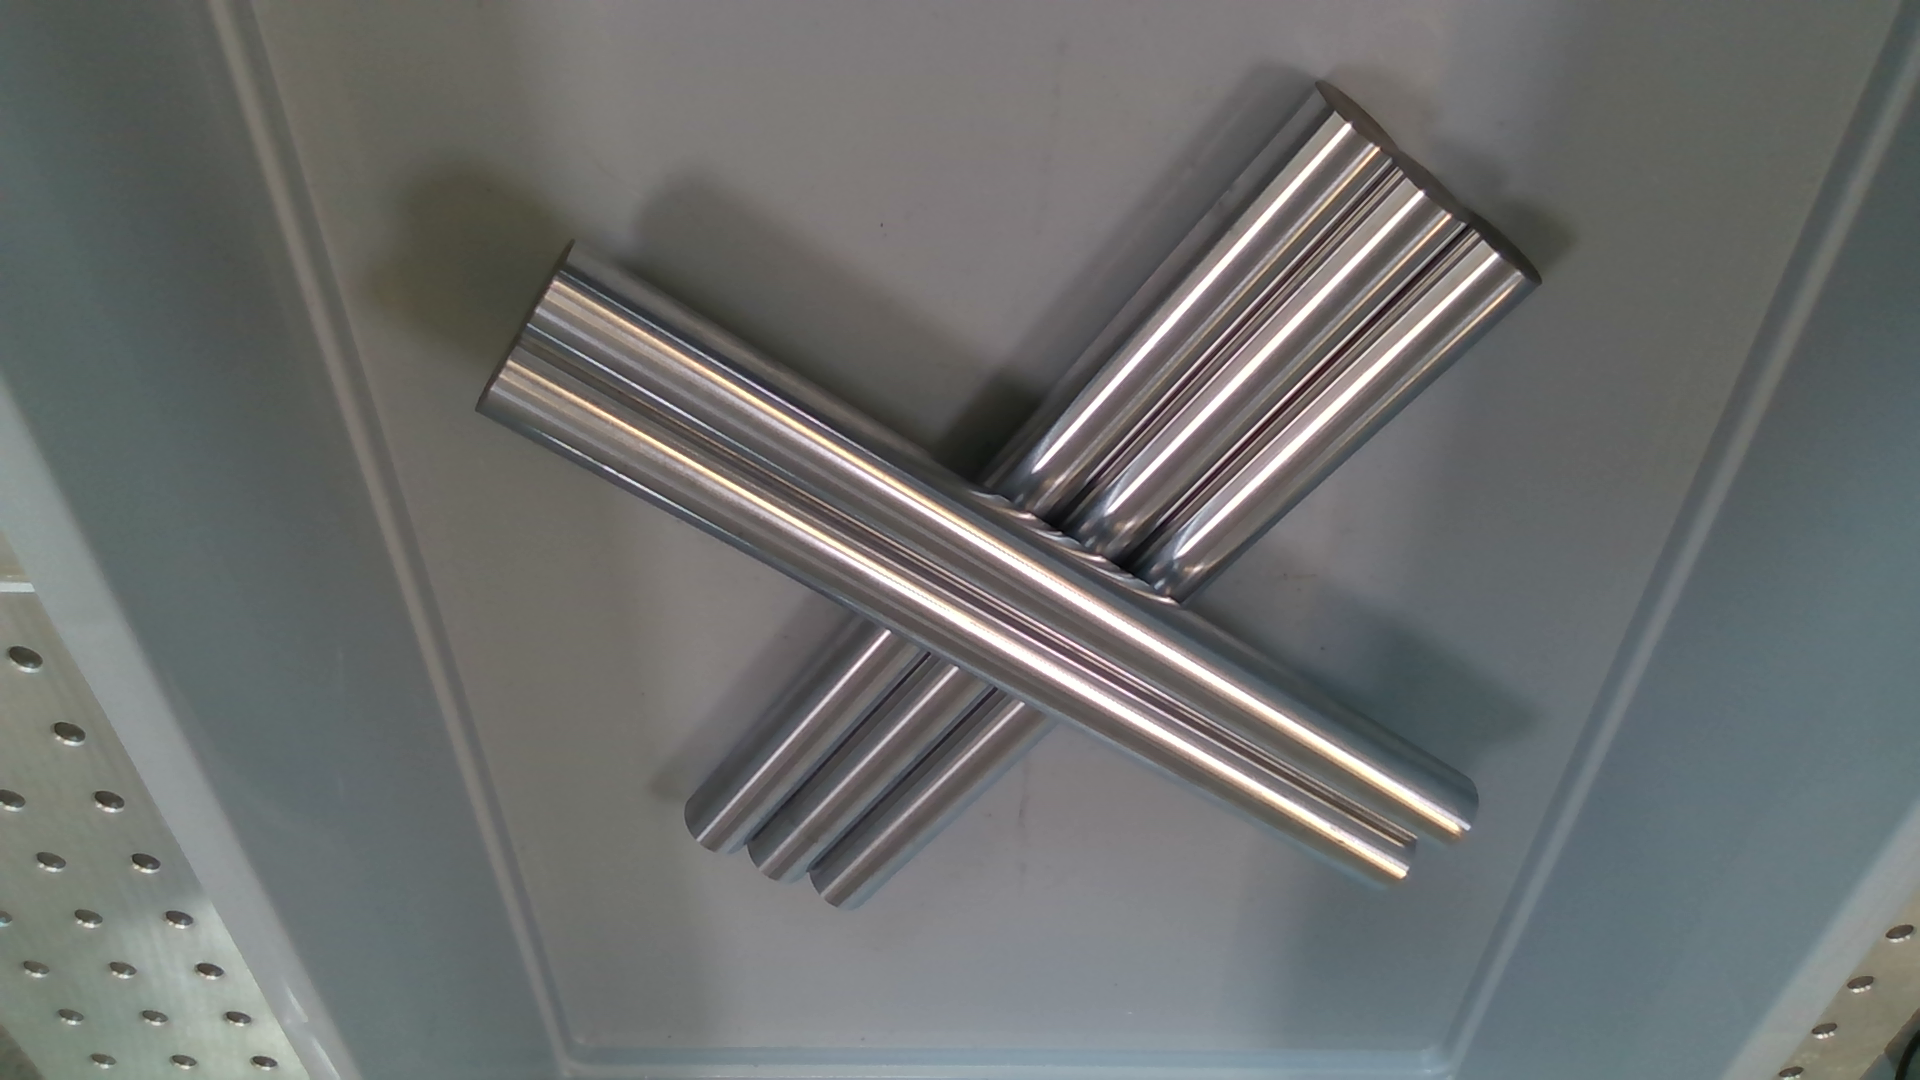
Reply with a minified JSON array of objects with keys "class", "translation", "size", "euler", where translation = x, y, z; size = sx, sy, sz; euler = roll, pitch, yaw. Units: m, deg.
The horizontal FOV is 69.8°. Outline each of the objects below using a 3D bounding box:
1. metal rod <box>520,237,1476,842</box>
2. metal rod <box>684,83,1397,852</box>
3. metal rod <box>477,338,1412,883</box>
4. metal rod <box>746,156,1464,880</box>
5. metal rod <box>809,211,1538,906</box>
[{"class":"metal rod","translation":[0.028,0.012,0.365],"size":[0.300,0.025,0.025],"euler":[30,124,-23]},{"class":"metal rod","translation":[0.003,0.000,0.388],"size":[0.025,0.025,0.301],"euler":[28,125,-21]},{"class":"metal rod","translation":[0.014,0.028,0.379],"size":[0.300,0.025,0.025],"euler":[30,124,-23]},{"class":"metal rod","translation":[0.022,0.013,0.398],"size":[0.025,0.025,0.301],"euler":[28,125,-21]},{"class":"metal rod","translation":[0.043,0.024,0.408],"size":[0.025,0.025,0.301],"euler":[28,125,-22]}]
